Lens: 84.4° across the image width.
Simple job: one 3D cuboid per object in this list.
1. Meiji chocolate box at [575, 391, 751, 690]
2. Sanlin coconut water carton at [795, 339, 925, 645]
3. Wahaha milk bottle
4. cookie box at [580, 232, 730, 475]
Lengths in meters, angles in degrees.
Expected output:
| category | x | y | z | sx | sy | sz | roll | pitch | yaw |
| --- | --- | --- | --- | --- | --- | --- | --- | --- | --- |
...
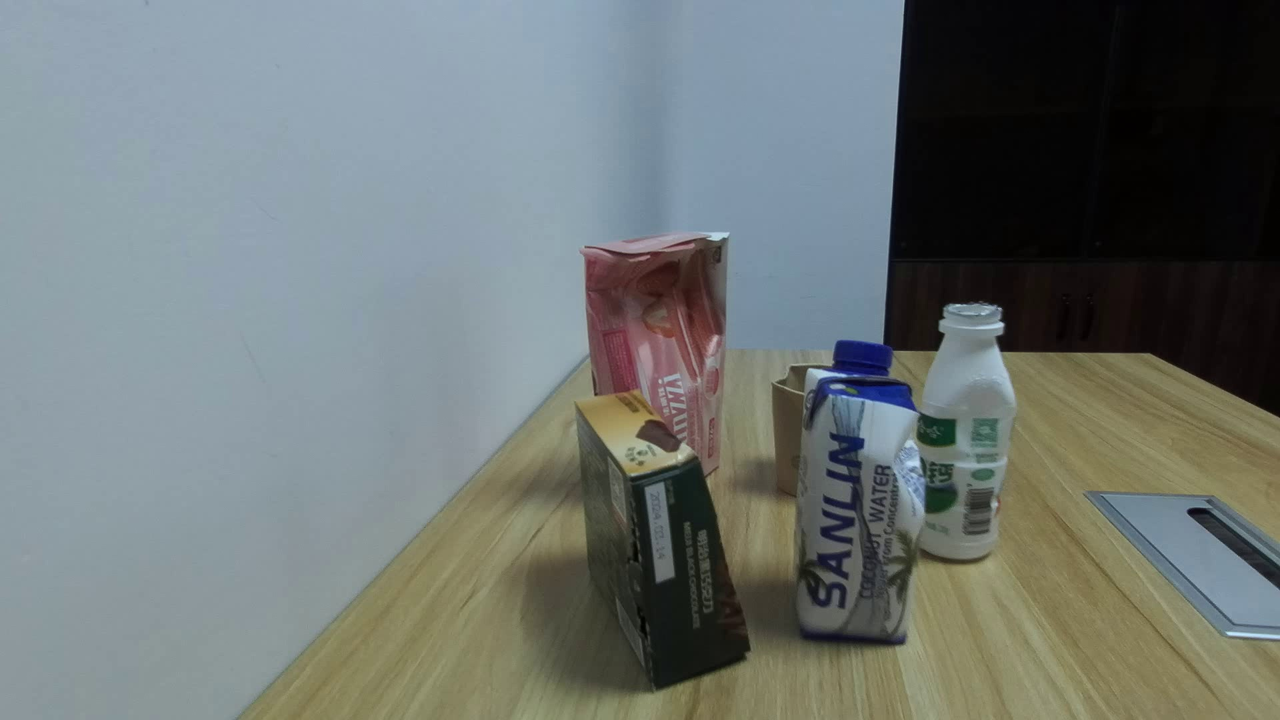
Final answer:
| category | x | y | z | sx | sy | sz | roll | pitch | yaw |
| --- | --- | --- | --- | --- | --- | --- | --- | --- | --- |
| Meiji chocolate box | 0.008 | 0.084 | 0.364 | 0.058 | 0.111 | 0.113 | -11 | 16 | -17 |
| Sanlin coconut water carton | 0.110 | 0.064 | 0.350 | 0.060 | 0.143 | 0.070 | 2 | 14 | 9 |
| Wahaha milk bottle | 0.187 | 0.041 | 0.417 | 0.055 | 0.149 | 0.055 | -2 | 15 | 1 |
| cookie box | 0.017 | 0.005 | 0.502 | 0.055 | 0.184 | 0.119 | 11 | 21 | 36 |
